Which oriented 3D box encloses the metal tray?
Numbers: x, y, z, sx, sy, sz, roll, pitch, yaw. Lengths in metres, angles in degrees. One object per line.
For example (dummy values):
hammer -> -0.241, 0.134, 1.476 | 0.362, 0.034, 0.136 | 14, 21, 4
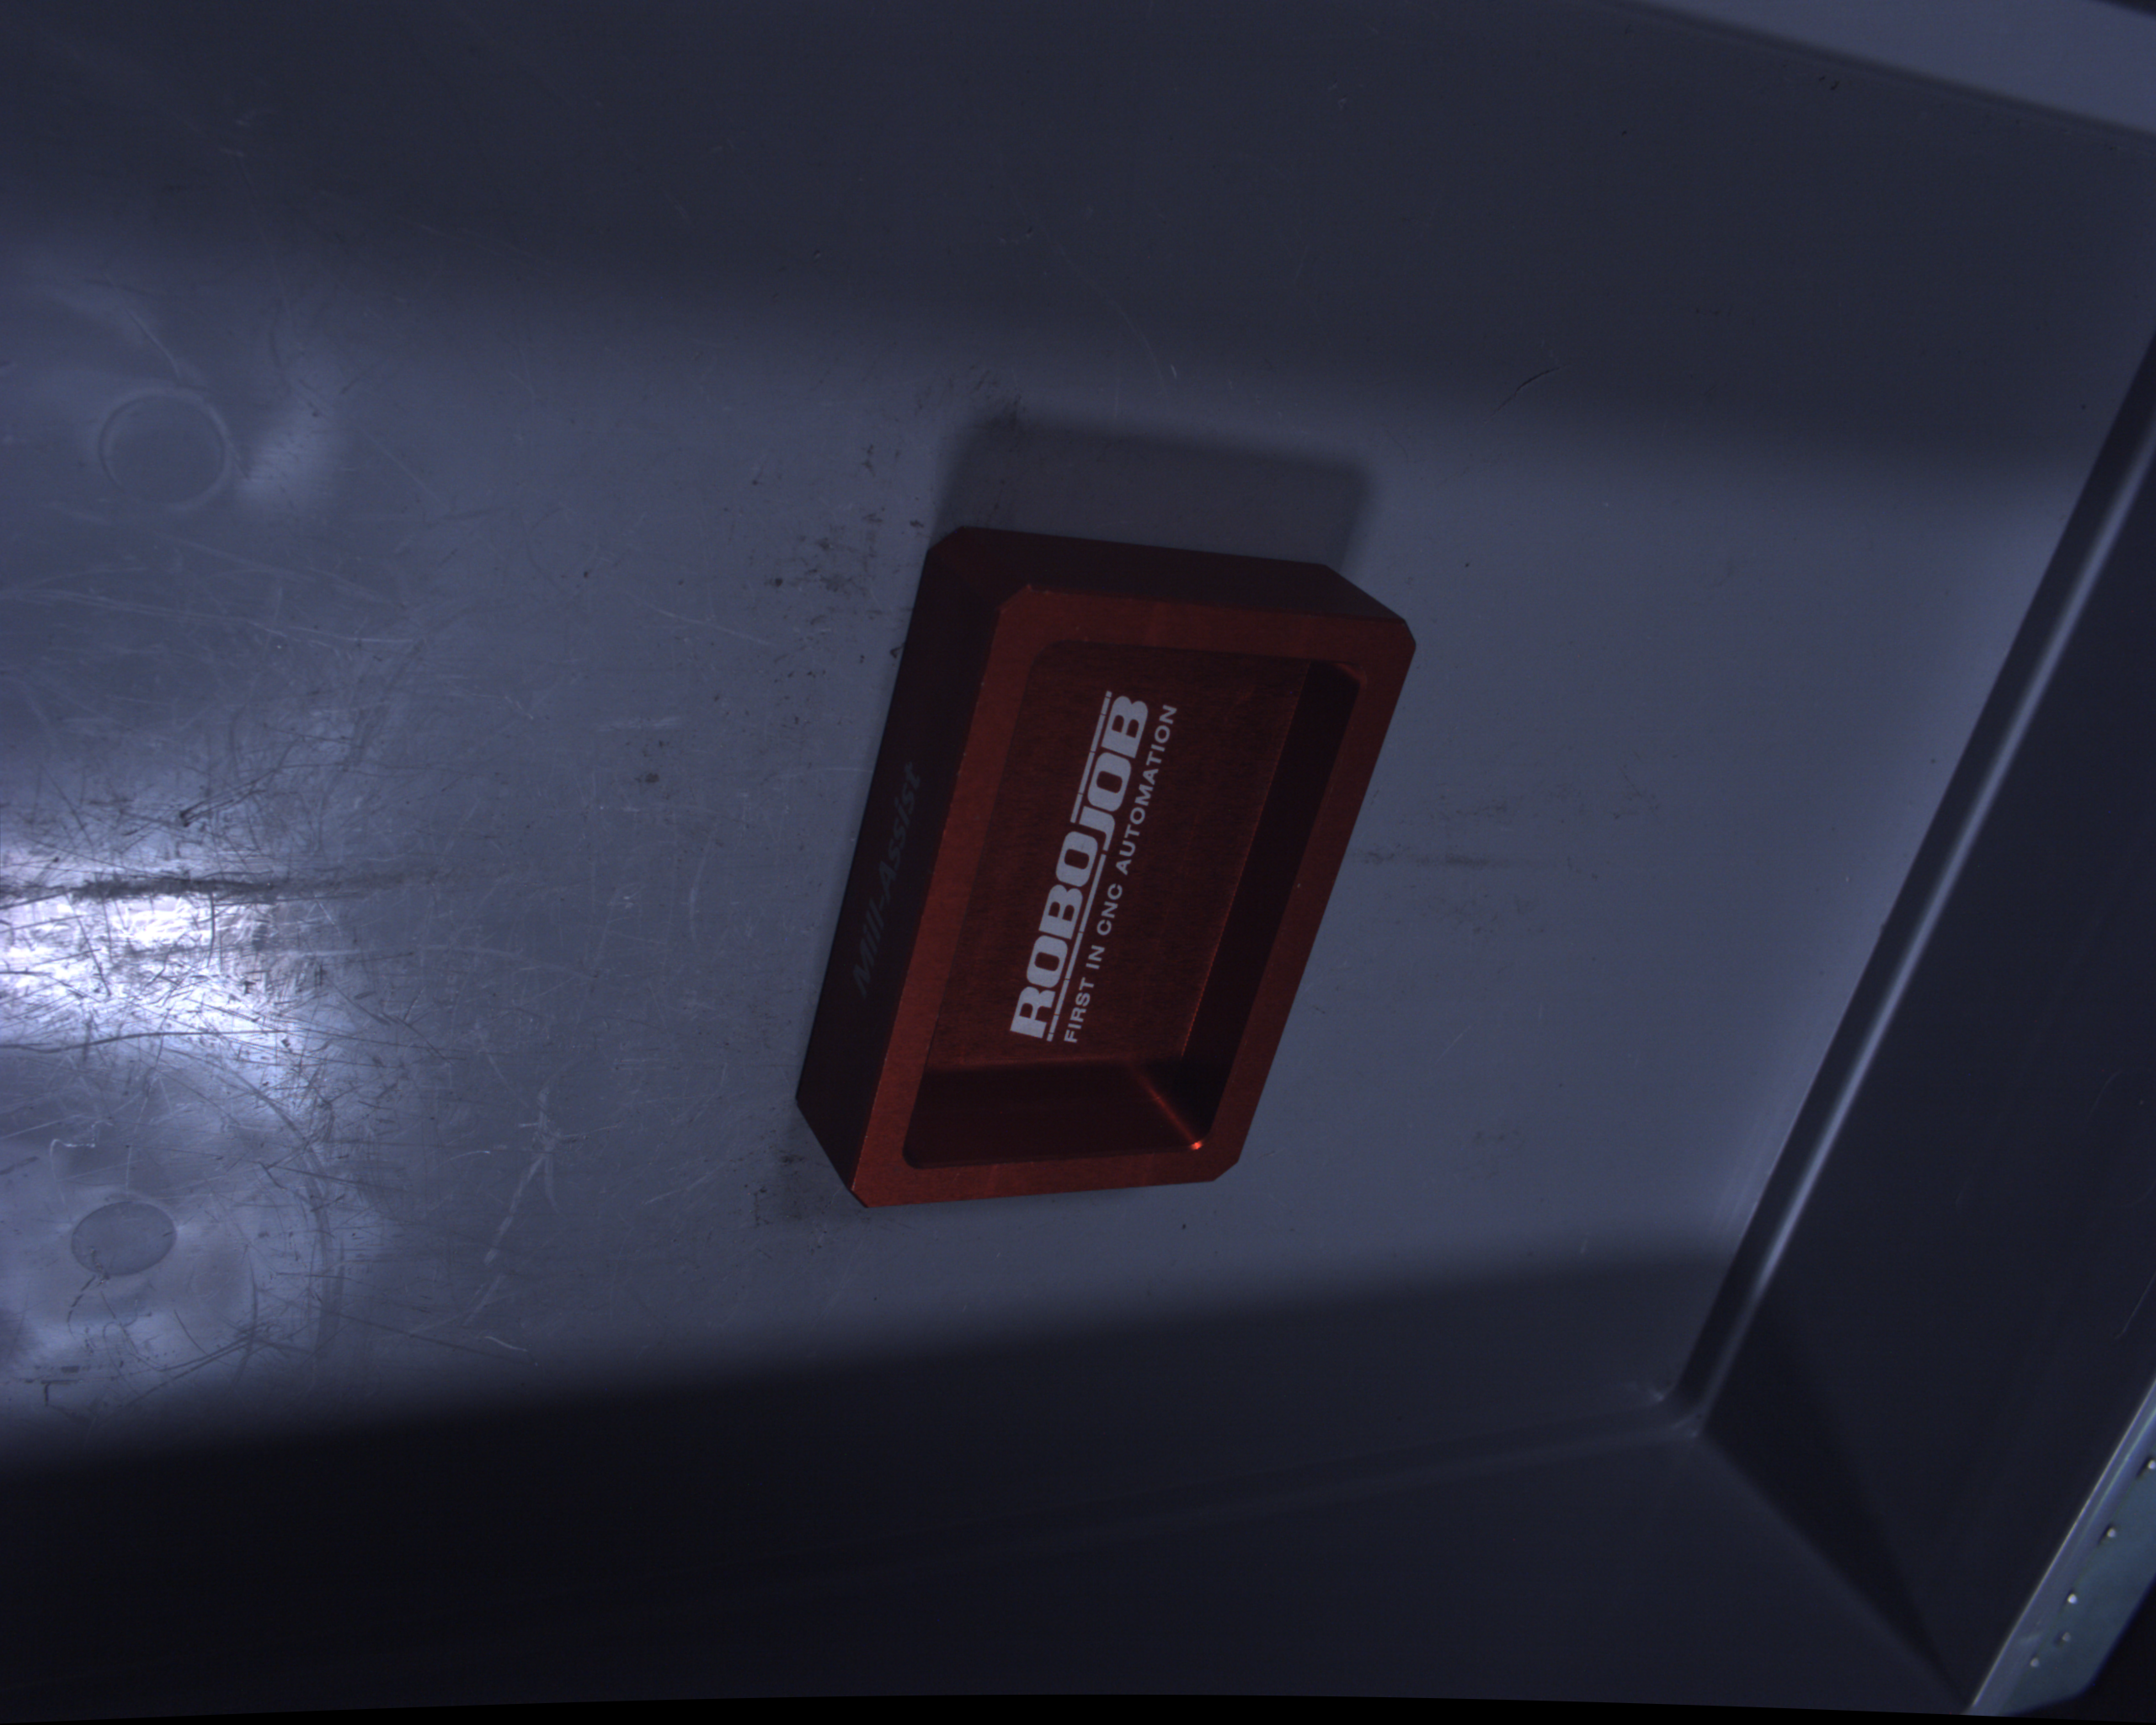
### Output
metal tray -> 0.004, 0.004, 0.408 | 0.091, 0.030, 0.129 | 1, 118, -30
